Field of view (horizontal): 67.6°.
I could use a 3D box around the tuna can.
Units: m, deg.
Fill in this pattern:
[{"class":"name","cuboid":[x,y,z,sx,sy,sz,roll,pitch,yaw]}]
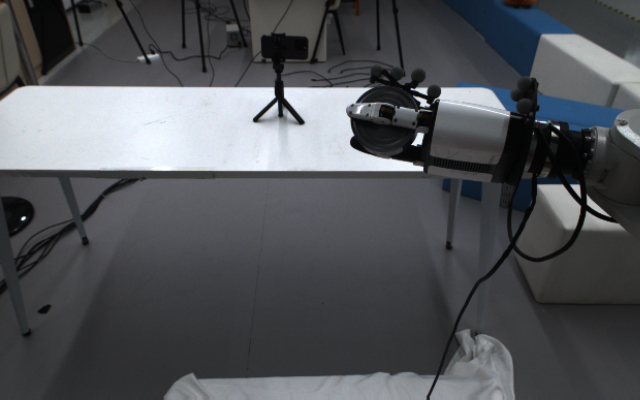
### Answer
[{"class":"tuna can","cuboid":[0.084,-0.103,0.621,0.085,0.085,0.034,13,-6,16]}]
